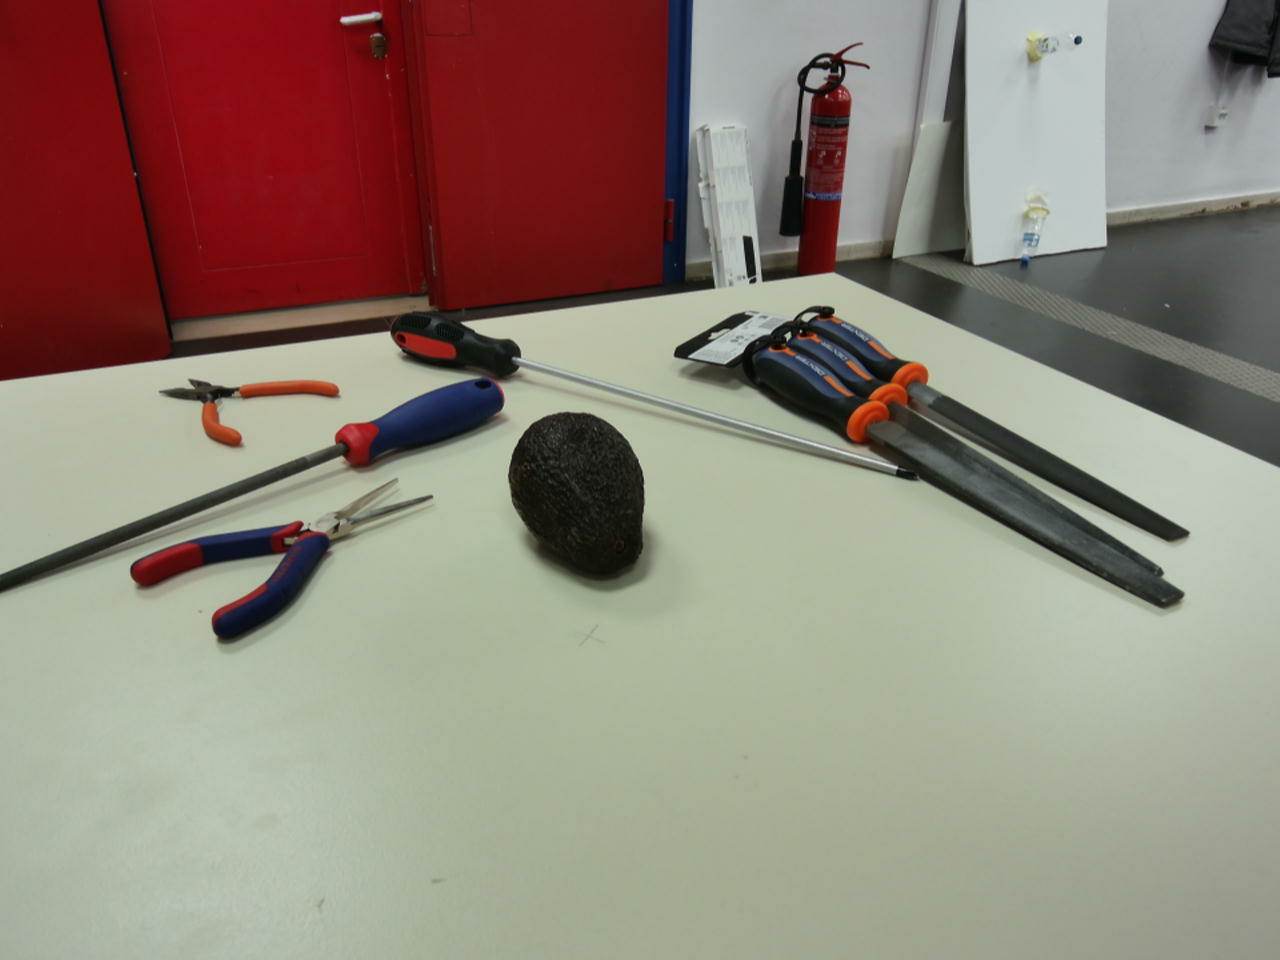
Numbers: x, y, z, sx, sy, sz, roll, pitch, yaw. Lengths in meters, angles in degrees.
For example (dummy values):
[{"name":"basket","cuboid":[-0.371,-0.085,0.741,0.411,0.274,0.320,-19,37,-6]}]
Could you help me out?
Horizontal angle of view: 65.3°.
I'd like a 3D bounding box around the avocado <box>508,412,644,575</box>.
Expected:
[{"name":"avocado","cuboid":[-0.033,0.003,0.510,0.070,0.069,0.090,1,25,0]}]
